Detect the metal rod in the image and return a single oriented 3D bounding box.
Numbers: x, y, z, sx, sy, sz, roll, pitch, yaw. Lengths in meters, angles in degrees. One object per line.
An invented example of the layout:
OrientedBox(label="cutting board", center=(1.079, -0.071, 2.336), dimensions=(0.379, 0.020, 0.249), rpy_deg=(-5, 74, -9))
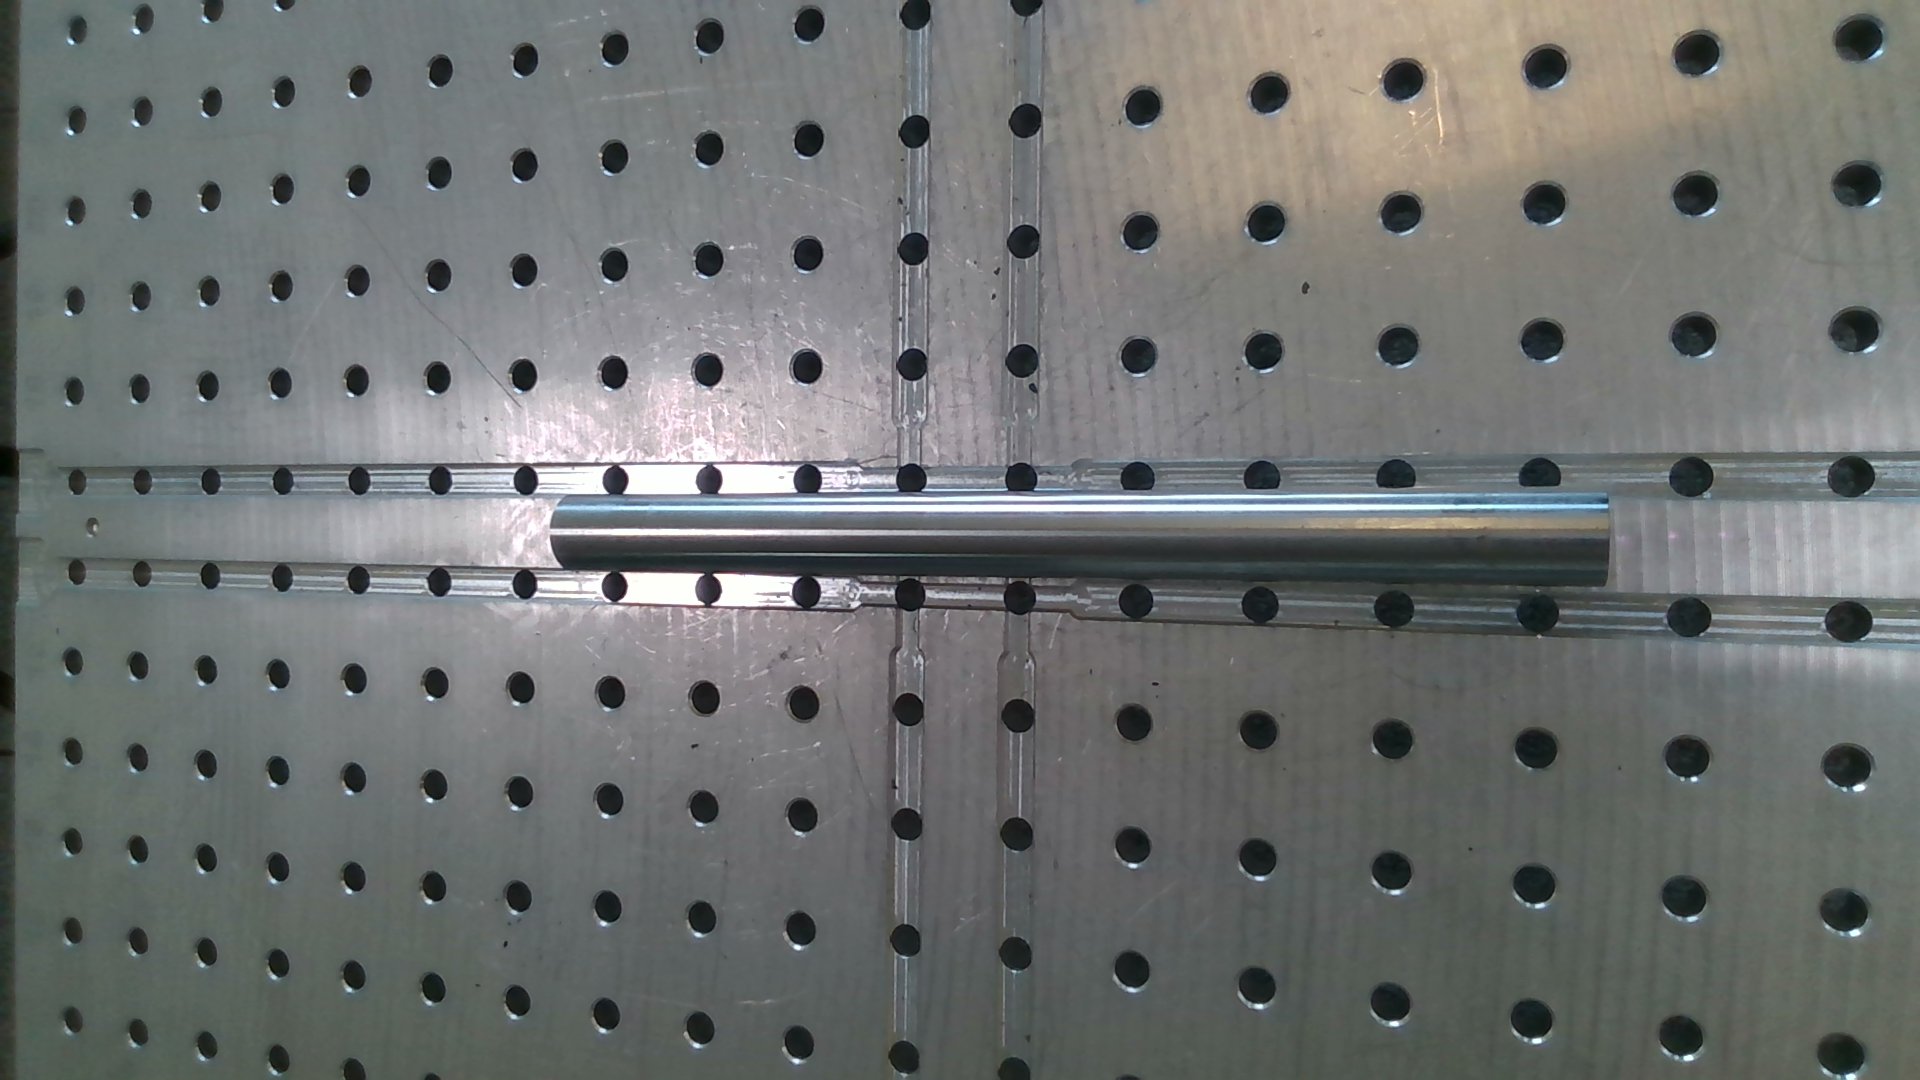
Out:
OrientedBox(label="metal rod", center=(0.017, -0.003, 0.390), dimensions=(0.300, 0.025, 0.025), rpy_deg=(0, 90, 20))
